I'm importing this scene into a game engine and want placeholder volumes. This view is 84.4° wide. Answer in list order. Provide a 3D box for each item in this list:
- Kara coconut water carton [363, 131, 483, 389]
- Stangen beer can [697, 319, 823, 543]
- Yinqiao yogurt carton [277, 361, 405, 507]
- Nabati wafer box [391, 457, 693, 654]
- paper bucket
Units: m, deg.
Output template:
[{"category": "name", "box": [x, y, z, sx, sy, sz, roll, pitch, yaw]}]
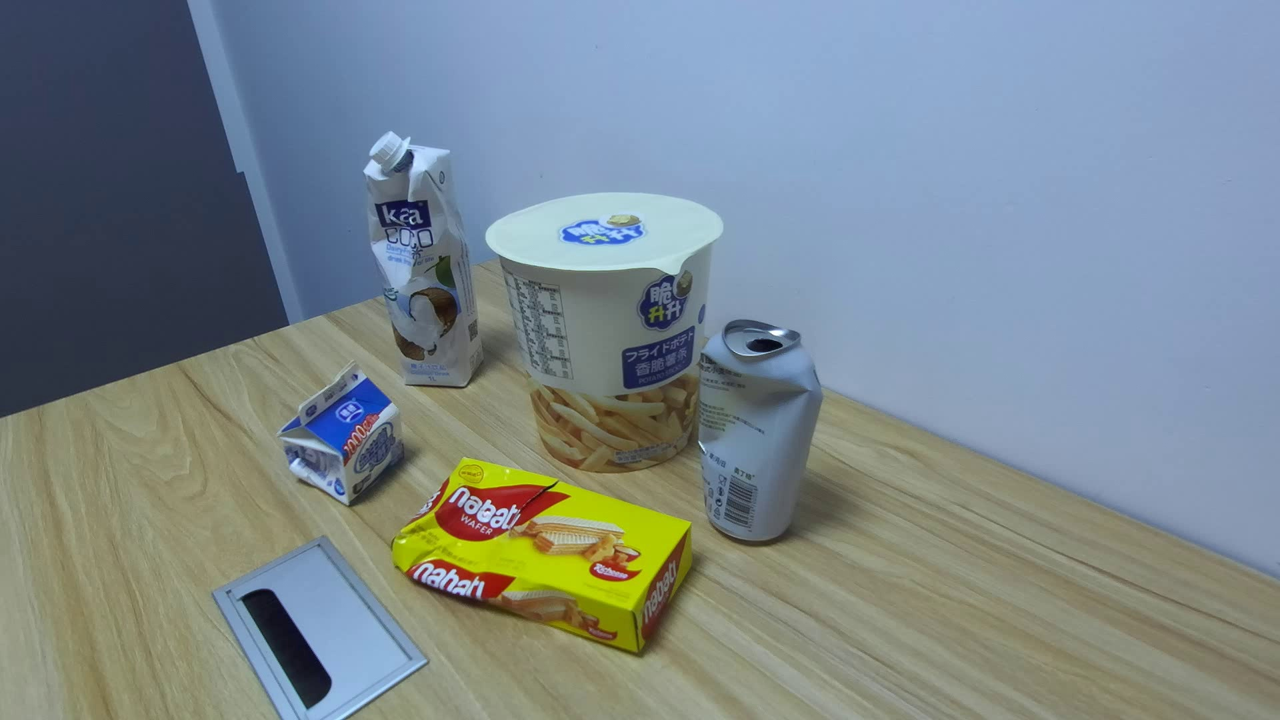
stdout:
[{"category": "Kara coconut water carton", "box": [-0.214, -0.097, 0.694, 0.083, 0.256, 0.078, 10, 34, 19]}, {"category": "Stangen beer can", "box": [0.083, 0.053, 0.506, 0.077, 0.162, 0.065, -3, 31, -1]}, {"category": "Yinqiao yogurt carton", "box": [-0.255, 0.056, 0.590, 0.080, 0.097, 0.074, 15, 34, 15]}, {"category": "Nabati wafer box", "box": [-0.076, 0.133, 0.503, 0.203, 0.042, 0.107, 11, 31, 23]}, {"category": "paper bucket", "box": [-0.023, -0.025, 0.616, 0.198, 0.195, 0.198, -2, 30, 2]}]
